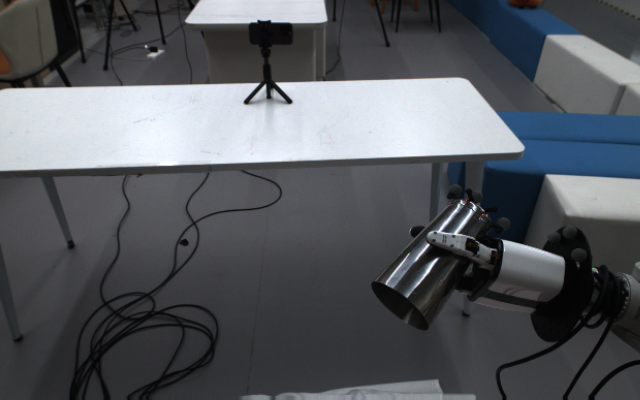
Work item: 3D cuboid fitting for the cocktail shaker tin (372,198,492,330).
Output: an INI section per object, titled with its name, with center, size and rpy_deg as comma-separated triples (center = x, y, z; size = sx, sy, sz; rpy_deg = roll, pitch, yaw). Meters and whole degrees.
[cocktail shaker tin]
center = 0.158, 0.075, 0.652
size = 0.093, 0.093, 0.170
rpy_deg = 32, 67, 35
